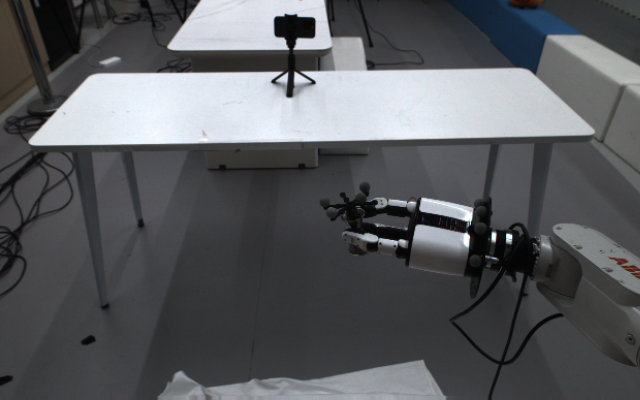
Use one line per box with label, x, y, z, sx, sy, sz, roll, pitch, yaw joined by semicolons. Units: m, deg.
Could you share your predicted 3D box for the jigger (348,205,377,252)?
jigger;0.060;0.050;0.788;0.043;0.071;0.043;-12;29;7
